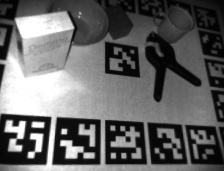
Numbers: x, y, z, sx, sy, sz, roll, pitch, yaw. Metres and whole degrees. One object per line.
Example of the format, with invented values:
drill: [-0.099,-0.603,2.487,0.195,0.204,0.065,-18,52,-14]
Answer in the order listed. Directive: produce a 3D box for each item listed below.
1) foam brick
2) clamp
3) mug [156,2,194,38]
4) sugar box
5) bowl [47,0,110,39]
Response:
foam brick: [0.019,-0.193,0.629,0.053,0.051,0.078,-22,79,-23]
clamp: [0.152,-0.085,0.630,0.167,0.036,0.202,-18,78,-22]
mug: [0.188,-0.207,0.668,0.118,0.081,0.093,31,63,-9]
sugar box: [-0.144,-0.086,0.456,0.094,0.175,0.045,-19,79,-25]
bowl: [-0.090,-0.182,0.578,0.163,0.055,0.161,7,68,-17]
